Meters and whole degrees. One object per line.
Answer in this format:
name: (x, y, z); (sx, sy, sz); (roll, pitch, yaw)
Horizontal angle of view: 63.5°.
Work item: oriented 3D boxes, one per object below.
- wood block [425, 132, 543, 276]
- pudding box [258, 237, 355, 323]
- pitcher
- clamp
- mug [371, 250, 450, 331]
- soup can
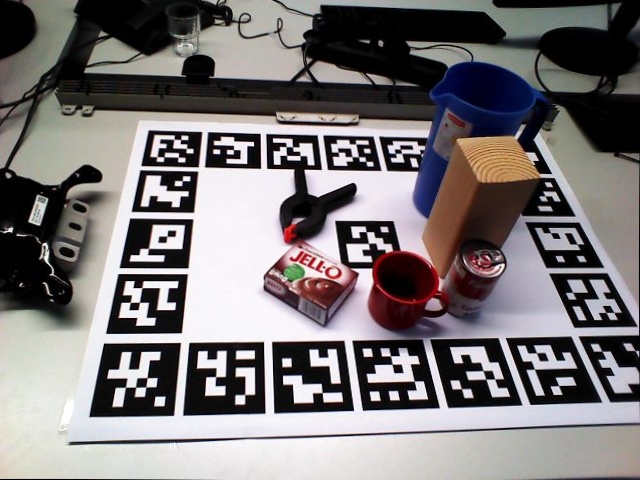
wood block: (0.235, -0.045, 0.750); (0.090, 0.207, 0.090); (0, 49, -10)
pudding box: (-0.020, 0.057, 0.754); (0.114, 0.039, 0.089); (29, 56, 20)
pitcher: (0.253, -0.146, 0.819); (0.189, 0.243, 0.132); (-2, 47, -4)
clamp: (-0.009, -0.060, 0.864); (0.122, 0.037, 0.164); (27, 52, 8)
mug: (0.126, 0.078, 0.717); (0.117, 0.082, 0.092); (28, 50, 19)
soup can: (0.219, 0.056, 0.729); (0.068, 0.102, 0.067); (2, 51, -3)
